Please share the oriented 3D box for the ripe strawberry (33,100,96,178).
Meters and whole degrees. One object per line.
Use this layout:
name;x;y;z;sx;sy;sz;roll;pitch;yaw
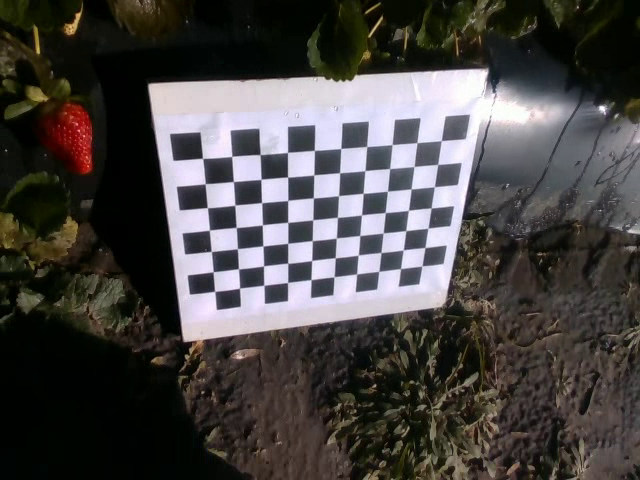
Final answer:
ripe strawberry;-0.201;-0.082;0.422;0.048;0.069;0.040;-21;26;1
